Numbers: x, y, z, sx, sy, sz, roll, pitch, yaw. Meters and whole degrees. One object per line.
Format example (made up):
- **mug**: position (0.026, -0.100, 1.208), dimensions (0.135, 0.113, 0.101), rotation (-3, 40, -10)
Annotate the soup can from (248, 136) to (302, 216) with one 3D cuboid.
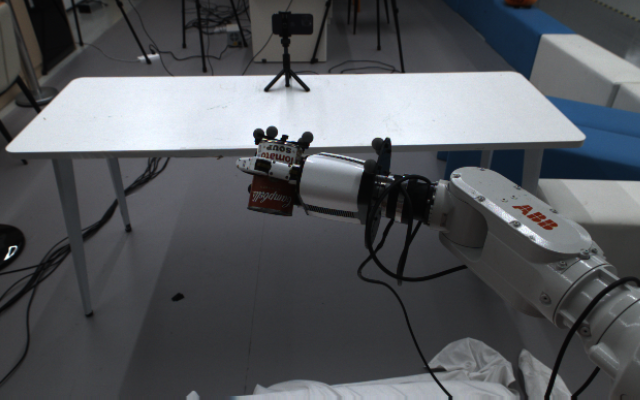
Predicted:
- **soup can**: position (-0.066, -0.031, 0.713), dimensions (0.067, 0.101, 0.067), rotation (9, -6, 1)
